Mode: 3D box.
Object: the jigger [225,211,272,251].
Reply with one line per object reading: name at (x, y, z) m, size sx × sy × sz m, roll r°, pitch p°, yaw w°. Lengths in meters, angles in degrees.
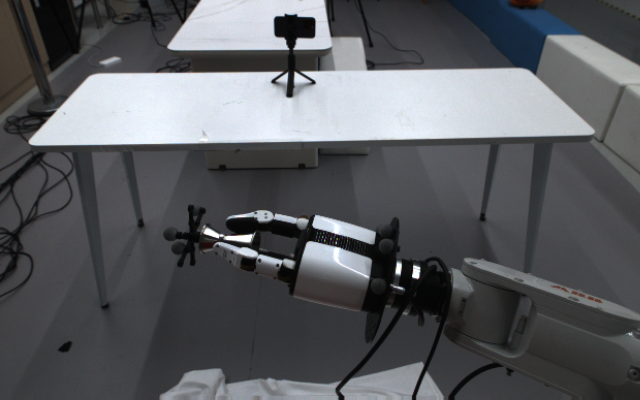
jigger at (-0.106, 0.050, 0.618) m, size 0.071 × 0.043 × 0.043 m, roll 7°, pitch 35°, yaw 6°
